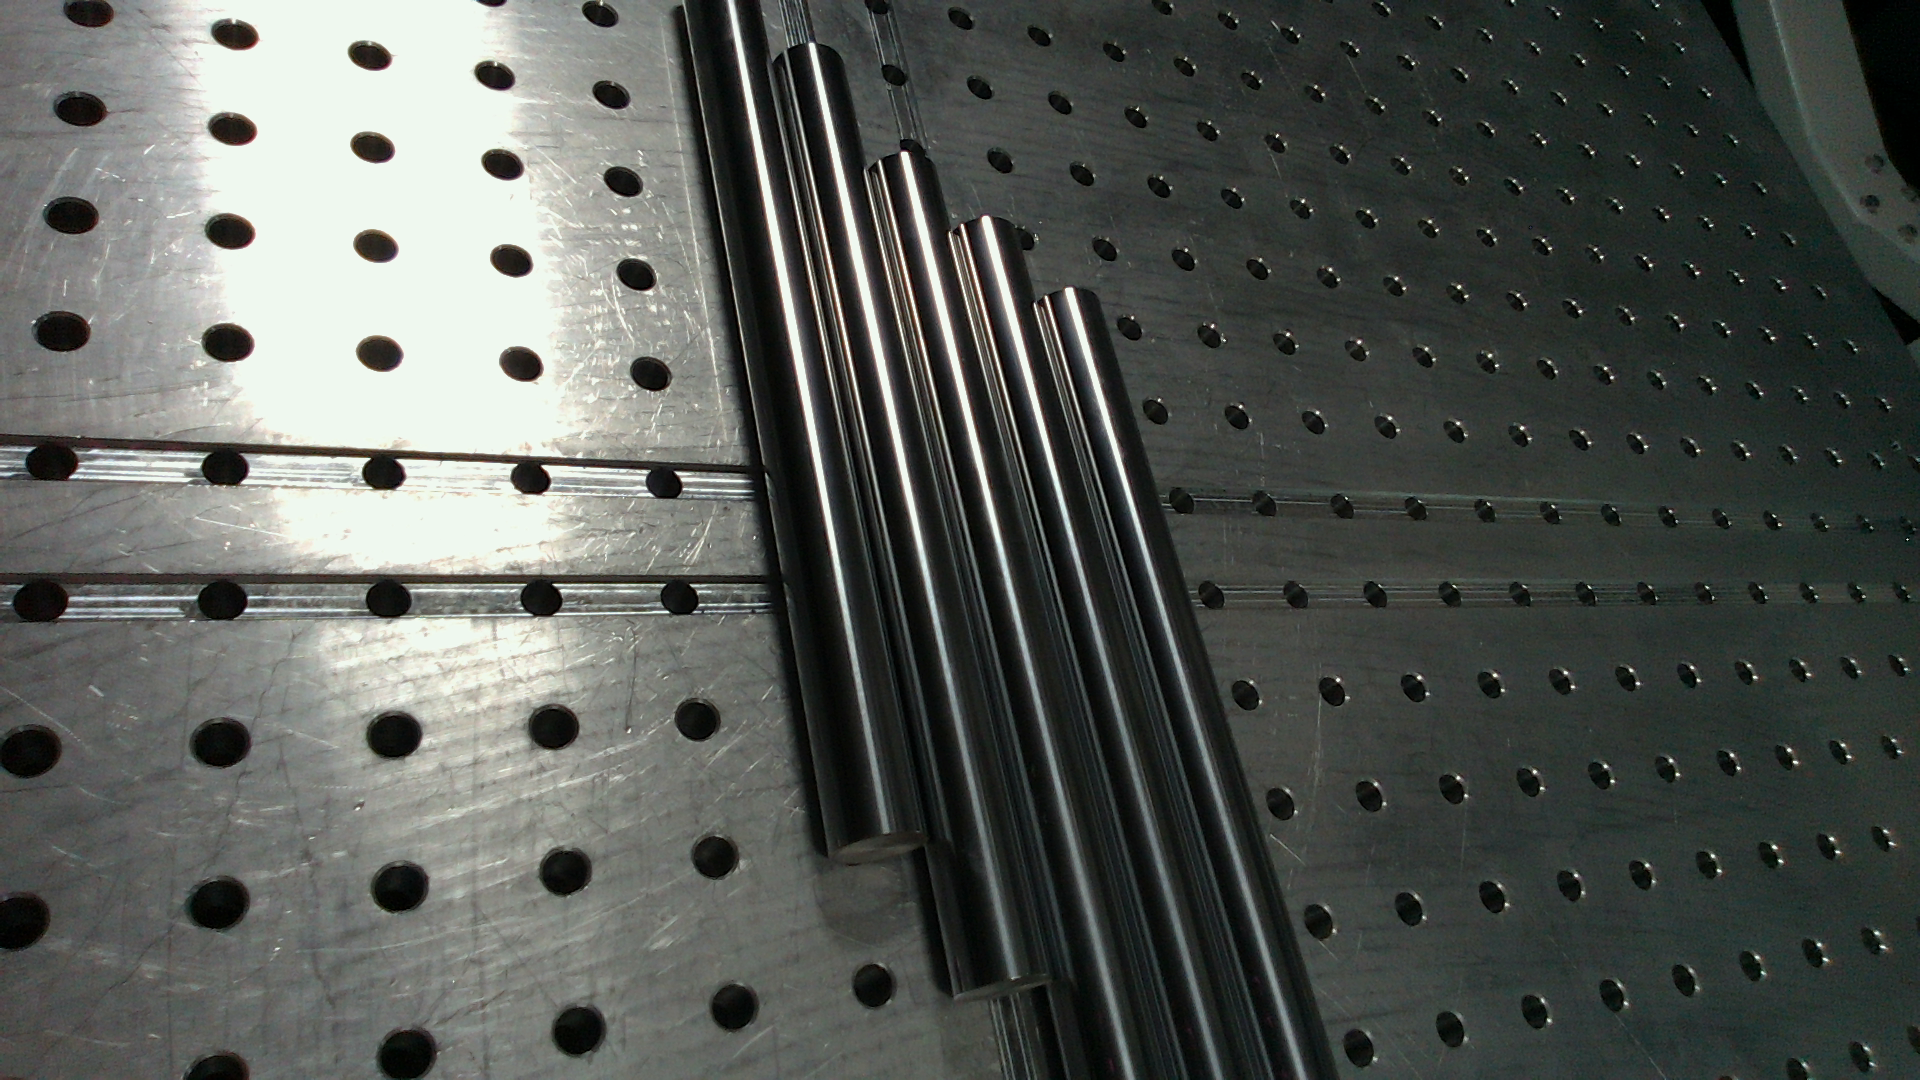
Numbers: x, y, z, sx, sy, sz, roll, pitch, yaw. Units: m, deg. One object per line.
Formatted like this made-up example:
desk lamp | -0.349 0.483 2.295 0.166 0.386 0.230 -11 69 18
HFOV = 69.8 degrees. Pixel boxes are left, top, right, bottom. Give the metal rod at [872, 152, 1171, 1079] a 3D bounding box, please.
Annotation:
metal rod | 0.011 0.013 0.390 0.025 0.025 0.300 1 61 -28

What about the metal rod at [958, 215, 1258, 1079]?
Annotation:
metal rod | 0.037 0.032 0.392 0.025 0.025 0.300 1 61 -28

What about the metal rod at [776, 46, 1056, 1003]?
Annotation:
metal rod | -0.020 -0.024 0.395 0.025 0.025 0.300 1 61 -28

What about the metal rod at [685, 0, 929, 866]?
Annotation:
metal rod | -0.051 -0.056 0.400 0.025 0.025 0.300 1 61 -28

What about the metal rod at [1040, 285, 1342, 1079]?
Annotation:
metal rod | 0.065 0.055 0.393 0.025 0.025 0.300 1 61 -28
